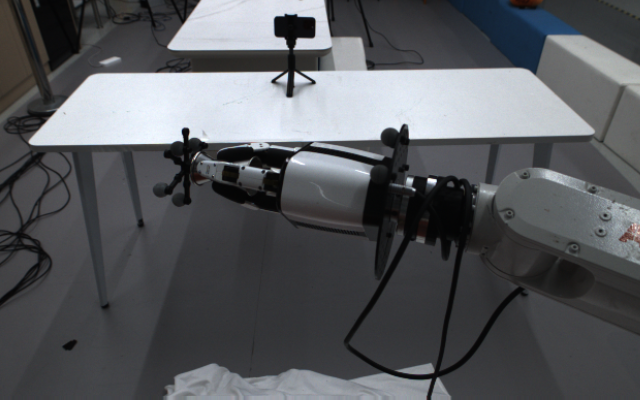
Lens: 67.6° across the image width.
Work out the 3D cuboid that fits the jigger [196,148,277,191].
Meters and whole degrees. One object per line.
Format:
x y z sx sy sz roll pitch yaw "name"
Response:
-0.097 -0.034 0.536 0.071 0.043 0.043 8 35 16 "jigger"
